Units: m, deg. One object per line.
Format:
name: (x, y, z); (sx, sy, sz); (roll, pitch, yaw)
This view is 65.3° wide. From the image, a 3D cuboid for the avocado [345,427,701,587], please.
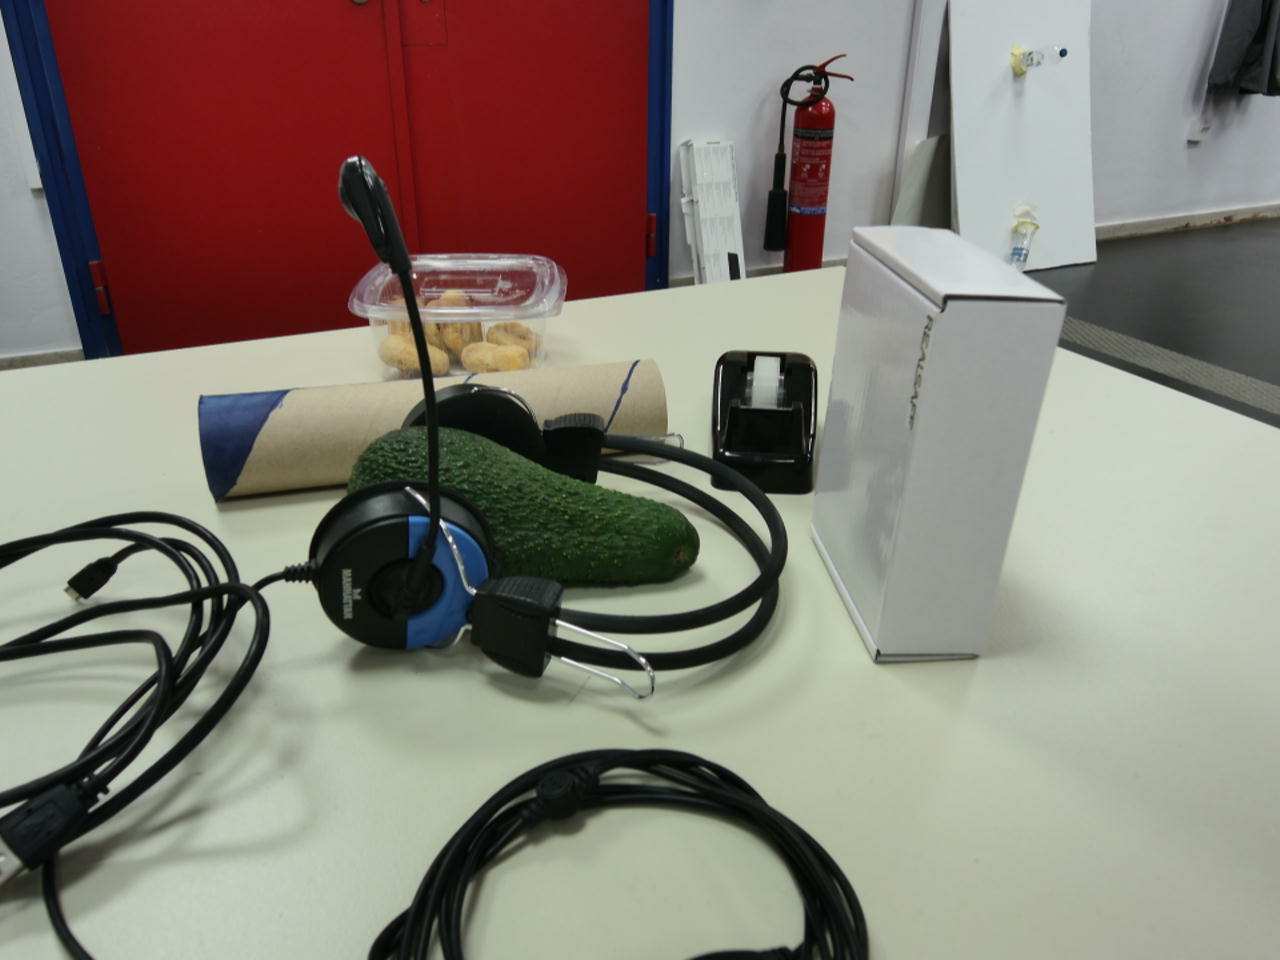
avocado: (-0.048, 0.008, 0.410); (0.141, 0.067, 0.063); (-5, 24, -10)
